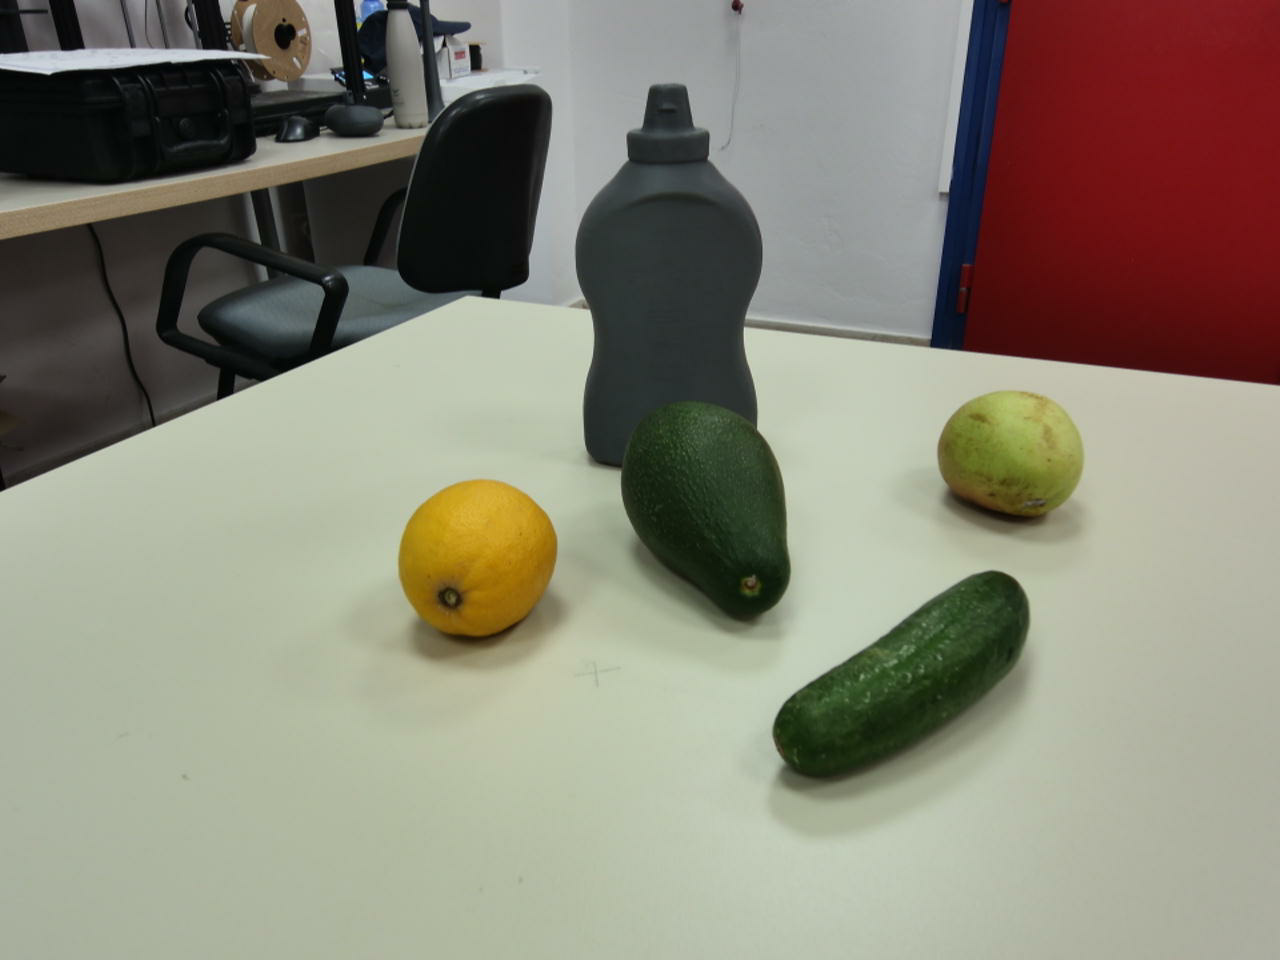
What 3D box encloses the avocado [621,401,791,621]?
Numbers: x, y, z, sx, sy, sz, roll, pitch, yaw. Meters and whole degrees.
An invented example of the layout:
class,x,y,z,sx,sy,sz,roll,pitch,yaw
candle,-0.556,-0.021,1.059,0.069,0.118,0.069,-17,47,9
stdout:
class,x,y,z,sx,sy,sz,roll,pitch,yaw
avocado,0.027,0.009,0.428,0.072,0.071,0.109,2,23,3
